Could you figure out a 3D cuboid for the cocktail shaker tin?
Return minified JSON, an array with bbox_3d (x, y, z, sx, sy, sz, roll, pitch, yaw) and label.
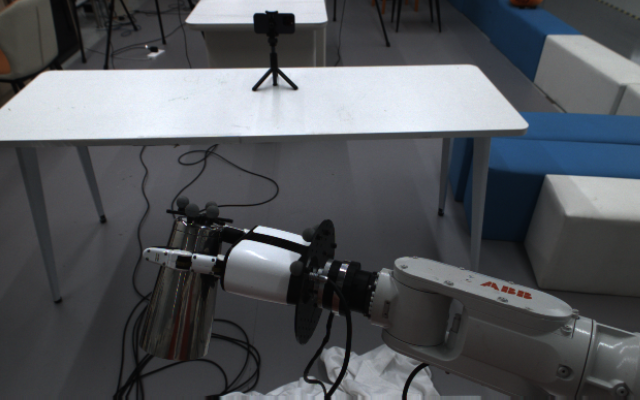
[{"bbox_3d":[-0.177,0.113,0.645,0.093,0.170,0.093,12,3,-1],"label":"cocktail shaker tin"}]
